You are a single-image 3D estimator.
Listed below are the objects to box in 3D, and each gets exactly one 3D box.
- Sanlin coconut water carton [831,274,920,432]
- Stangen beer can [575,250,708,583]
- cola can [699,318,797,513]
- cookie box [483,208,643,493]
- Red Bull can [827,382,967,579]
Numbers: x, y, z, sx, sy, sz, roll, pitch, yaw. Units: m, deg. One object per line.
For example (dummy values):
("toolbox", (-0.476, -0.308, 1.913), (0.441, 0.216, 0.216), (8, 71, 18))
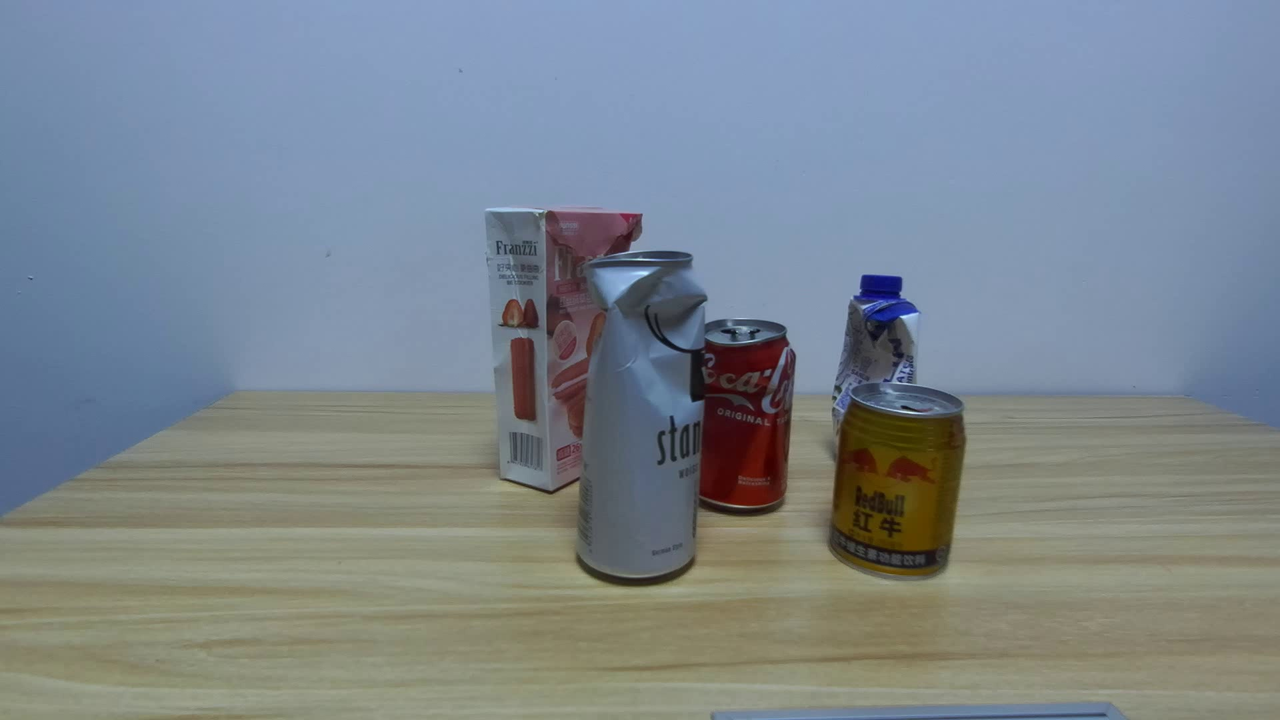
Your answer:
("Sanlin coconut water carton", (0.168, 0.014, 0.504), (0.056, 0.145, 0.068), (-4, 19, 10))
("Stangen beer can", (-0.002, 0.029, 0.368), (0.066, 0.166, 0.065), (-8, 16, -30))
("cola can", (0.068, 0.035, 0.457), (0.066, 0.117, 0.072), (-10, 18, -42))
("cookie box", (-0.053, -0.011, 0.494), (0.059, 0.186, 0.105), (13, 17, 32))
("Red Bull can", (0.141, 0.065, 0.390), (0.067, 0.093, 0.067), (3, 13, 0))
